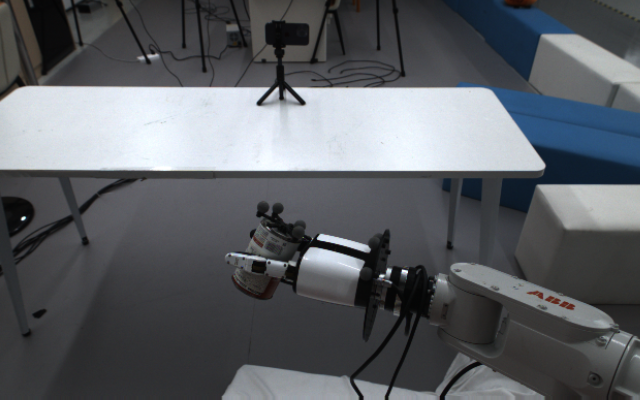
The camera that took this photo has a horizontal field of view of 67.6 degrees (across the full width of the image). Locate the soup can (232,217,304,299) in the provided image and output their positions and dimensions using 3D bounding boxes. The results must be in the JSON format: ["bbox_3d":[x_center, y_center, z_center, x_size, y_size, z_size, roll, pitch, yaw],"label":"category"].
[{"bbox_3d":[-0.077,0.087,0.708,0.067,0.101,0.067,27,10,-5],"label":"soup can"}]
